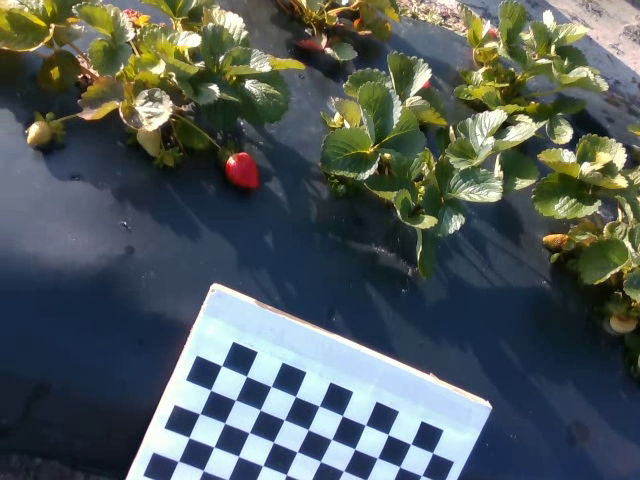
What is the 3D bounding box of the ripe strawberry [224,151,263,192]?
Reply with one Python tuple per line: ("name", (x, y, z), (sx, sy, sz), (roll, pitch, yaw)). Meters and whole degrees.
("ripe strawberry", (-0.067, -0.060, 0.557), (0.030, 0.044, 0.033), (-36, -21, 2))
